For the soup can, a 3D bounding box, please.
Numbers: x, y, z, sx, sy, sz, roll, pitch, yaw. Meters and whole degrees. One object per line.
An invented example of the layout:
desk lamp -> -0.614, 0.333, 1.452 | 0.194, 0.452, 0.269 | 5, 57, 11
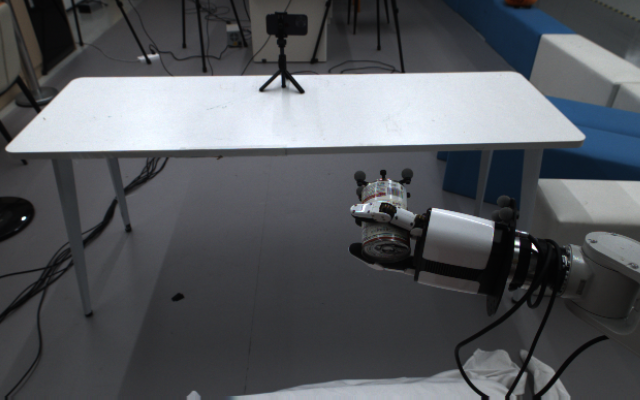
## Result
soup can -> 0.093, 0.029, 0.685 | 0.067, 0.067, 0.101 | 3, 57, 1
